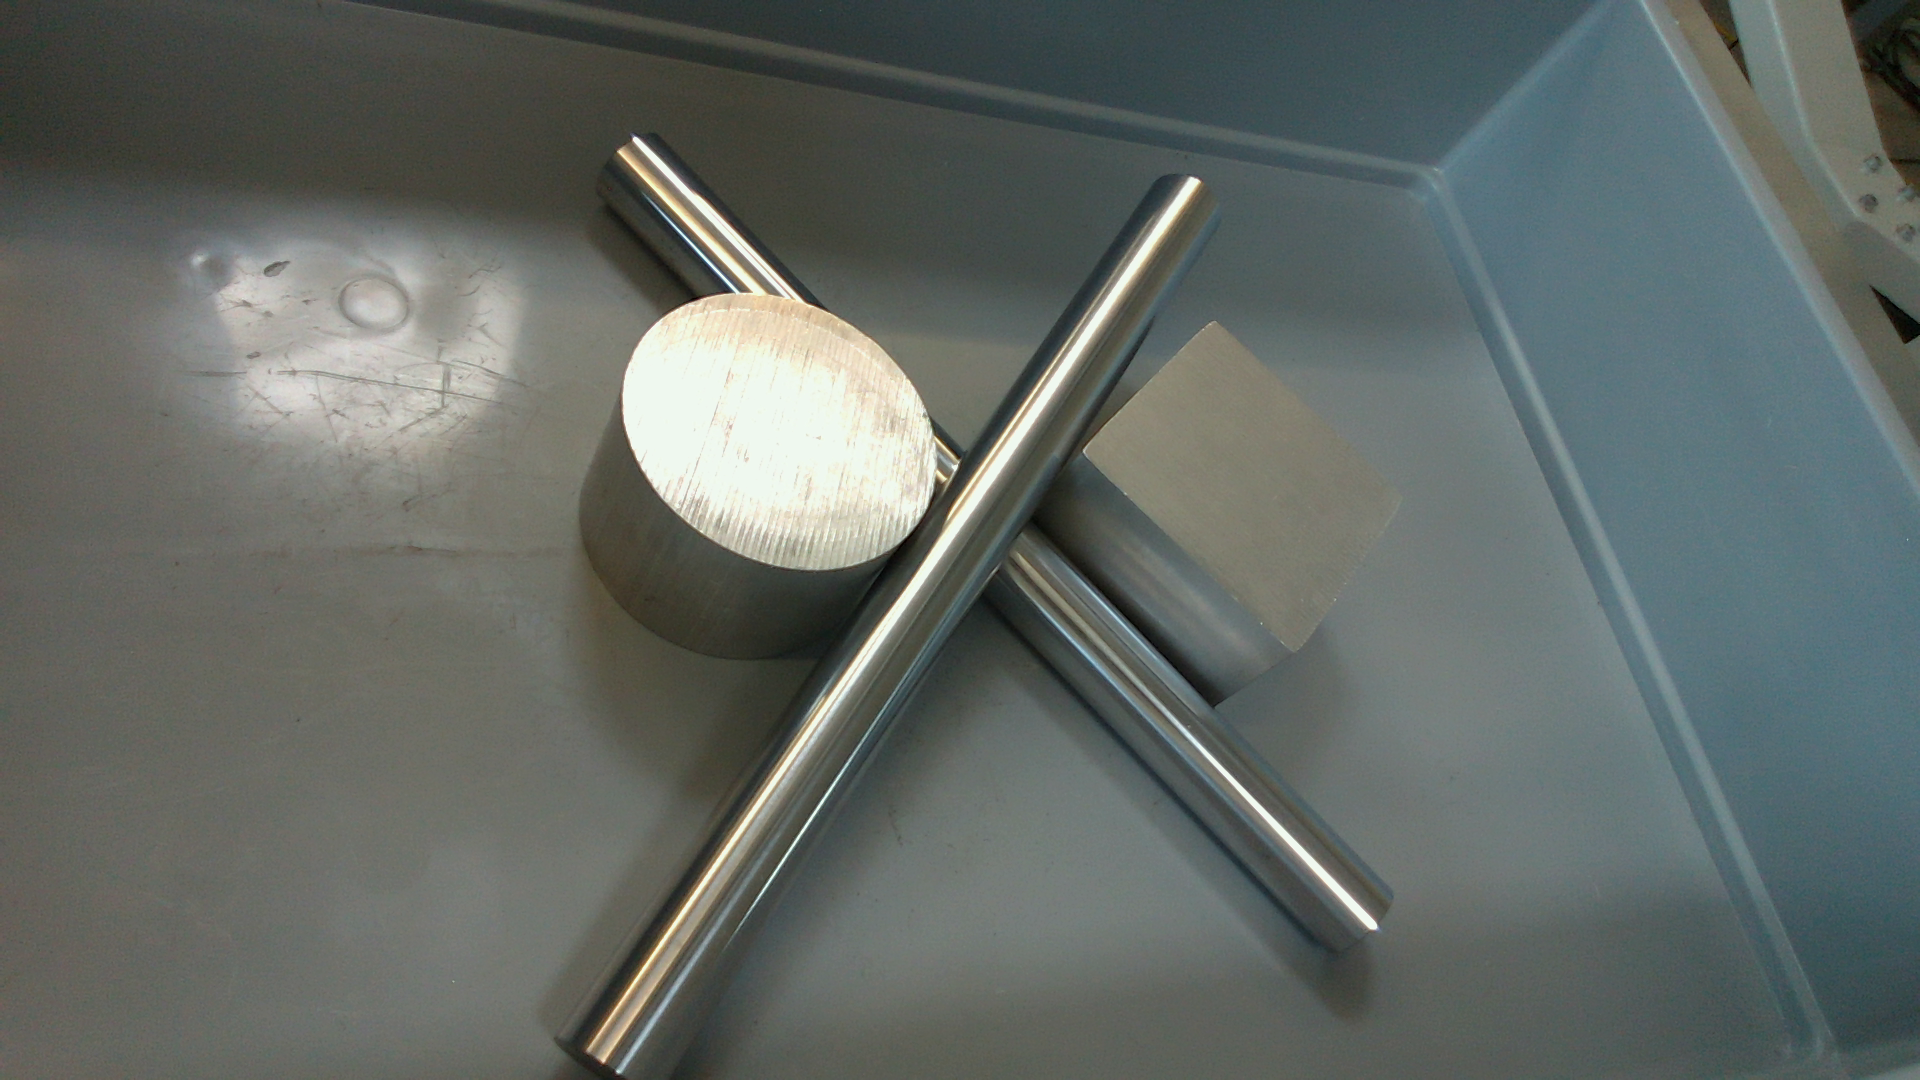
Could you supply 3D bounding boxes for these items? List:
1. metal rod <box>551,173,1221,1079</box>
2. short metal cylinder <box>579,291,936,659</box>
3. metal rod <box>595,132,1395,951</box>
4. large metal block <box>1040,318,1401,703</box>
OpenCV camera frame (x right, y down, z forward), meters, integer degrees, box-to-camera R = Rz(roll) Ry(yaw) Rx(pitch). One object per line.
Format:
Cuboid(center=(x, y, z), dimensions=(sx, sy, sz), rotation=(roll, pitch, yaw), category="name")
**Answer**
Cuboid(center=(-0.001, 0.002, 0.359), dimensions=(0.025, 0.025, 0.301), rotation=(36, 59, -4), category="metal rod")
Cuboid(center=(-0.053, -0.016, 0.354), dimensions=(0.080, 0.050, 0.080), rotation=(14, 56, -21), category="short metal cylinder")
Cuboid(center=(0.007, -0.002, 0.392), dimensions=(0.300, 0.025, 0.025), rotation=(46, 51, 4), category="metal rod")
Cuboid(center=(0.073, -0.007, 0.414), dimensions=(0.080, 0.050, 0.080), rotation=(44, 51, 2), category="large metal block")
